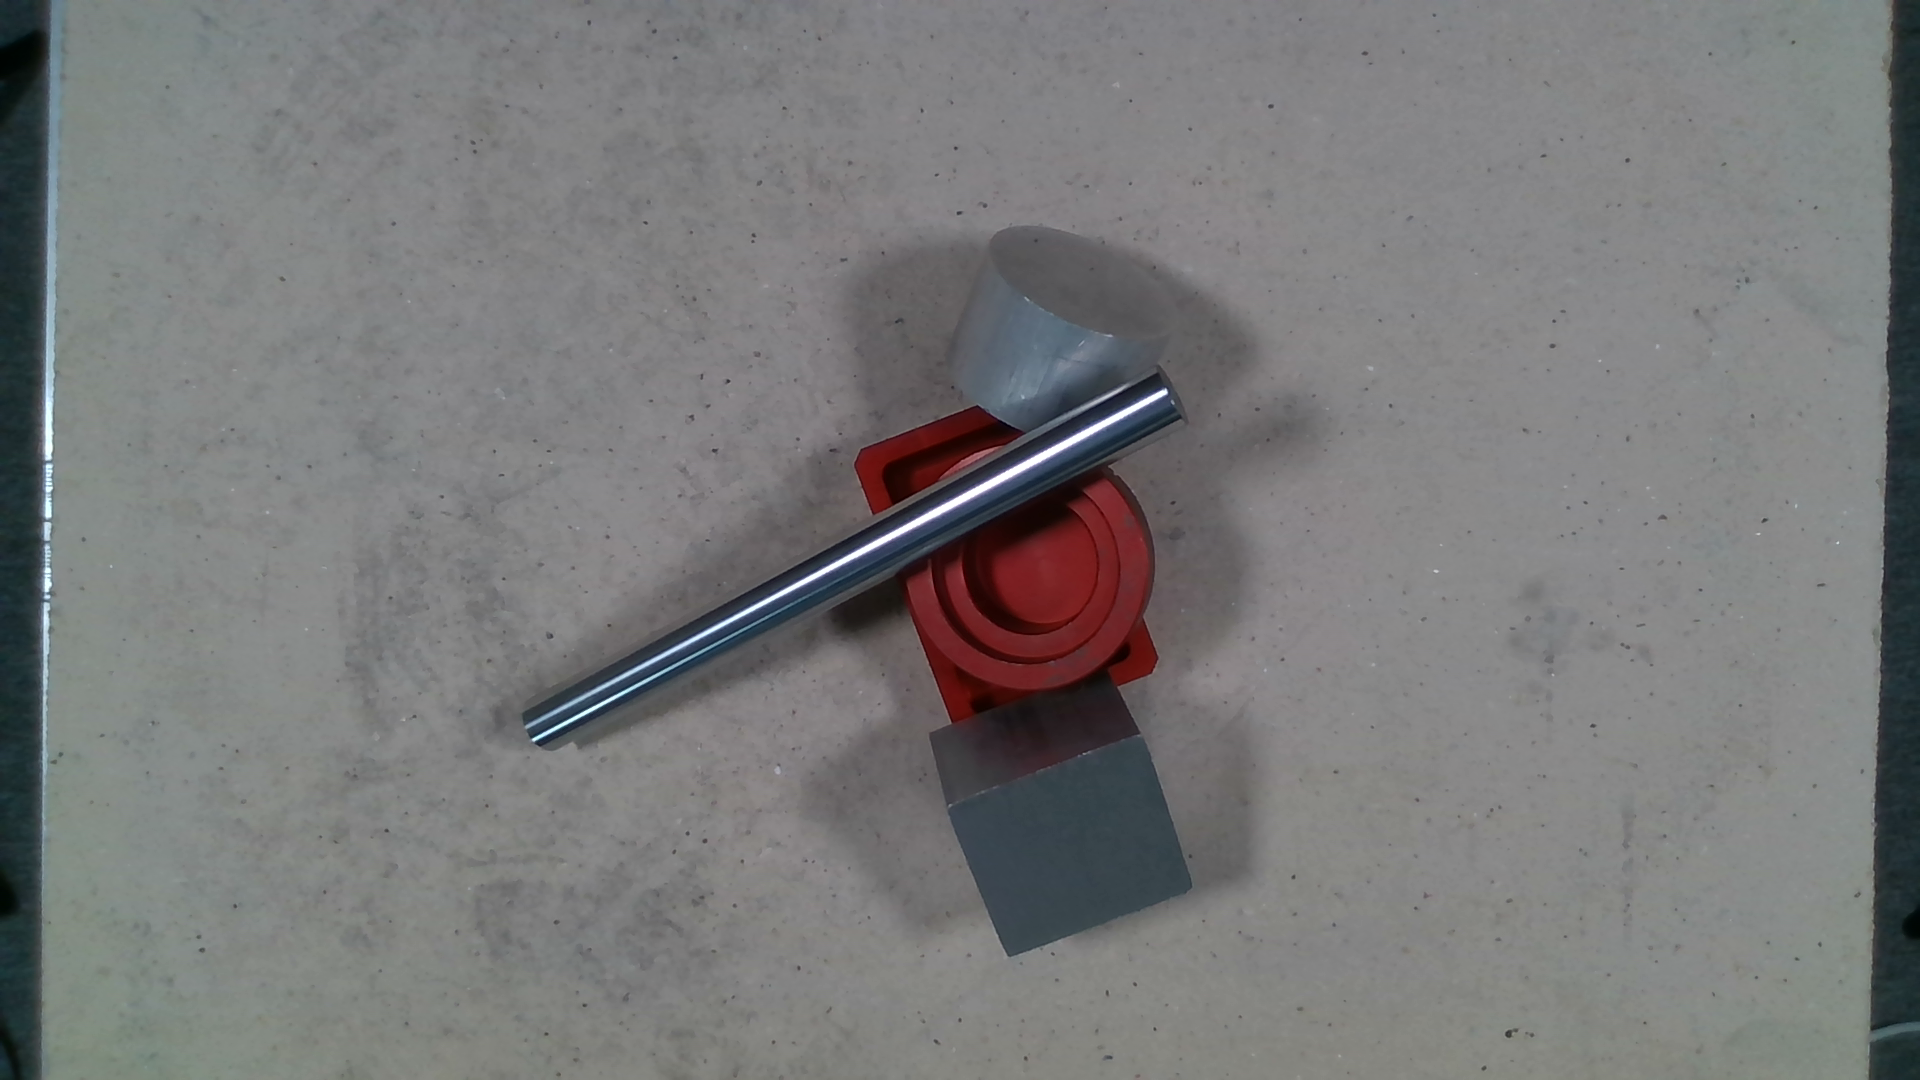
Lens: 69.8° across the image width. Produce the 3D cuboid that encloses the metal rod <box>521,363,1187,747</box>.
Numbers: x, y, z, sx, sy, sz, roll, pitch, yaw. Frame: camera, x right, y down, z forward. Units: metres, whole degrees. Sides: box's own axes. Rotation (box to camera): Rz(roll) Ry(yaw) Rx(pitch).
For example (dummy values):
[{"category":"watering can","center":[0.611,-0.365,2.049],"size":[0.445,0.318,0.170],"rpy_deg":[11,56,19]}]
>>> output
[{"category":"metal rod","center":[-0.051,0.012,0.543],"size":[0.300,0.025,0.025],"rpy_deg":[-27,90,17]}]

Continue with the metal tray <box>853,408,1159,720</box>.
[{"category":"metal tray","center":[0.019,0.009,0.585],"size":[0.090,0.030,0.130],"rpy_deg":[-21,91,0]}]

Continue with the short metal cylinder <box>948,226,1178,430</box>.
[{"category":"short metal cylinder","center":[0.040,-0.084,0.552],"size":[0.080,0.080,0.050],"rpy_deg":[24,126,0]}]

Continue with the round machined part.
[{"category":"round machined part","center":[0.030,0.009,0.555],"size":[0.098,0.042,0.098],"rpy_deg":[1,95,15]}]

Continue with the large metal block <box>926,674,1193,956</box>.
[{"category":"large metal block","center":[0.040,0.110,0.559],"size":[0.080,0.050,0.080],"rpy_deg":[-20,116,0]}]
